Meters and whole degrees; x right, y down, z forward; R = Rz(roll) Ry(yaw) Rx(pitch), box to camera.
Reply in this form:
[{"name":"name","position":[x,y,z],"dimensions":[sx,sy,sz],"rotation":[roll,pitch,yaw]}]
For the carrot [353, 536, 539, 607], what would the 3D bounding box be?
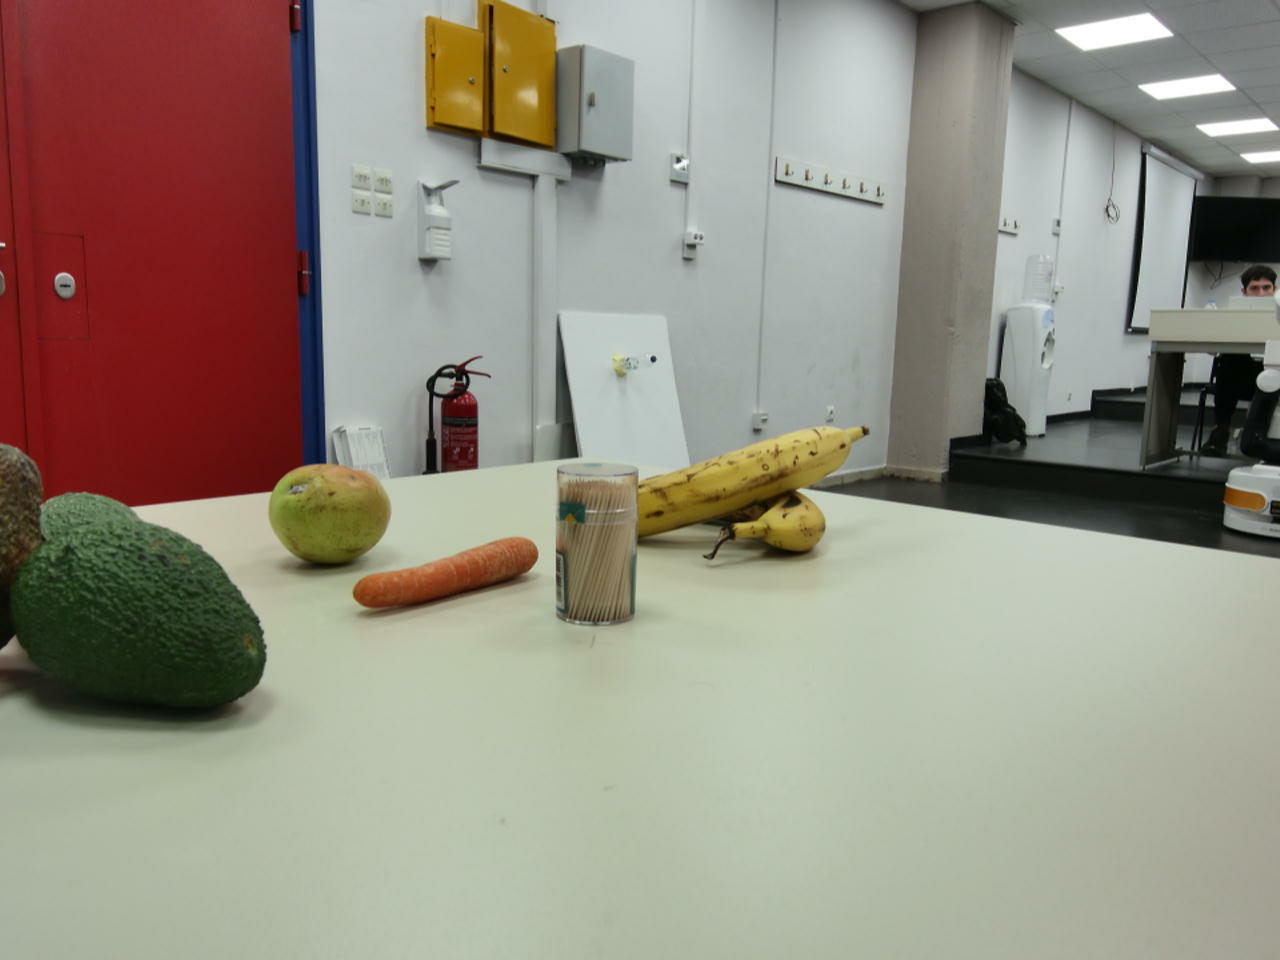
[{"name":"carrot","position":[-0.100,0.049,0.534],"dimensions":[0.024,0.023,0.122],"rotation":[6,9,39]}]
